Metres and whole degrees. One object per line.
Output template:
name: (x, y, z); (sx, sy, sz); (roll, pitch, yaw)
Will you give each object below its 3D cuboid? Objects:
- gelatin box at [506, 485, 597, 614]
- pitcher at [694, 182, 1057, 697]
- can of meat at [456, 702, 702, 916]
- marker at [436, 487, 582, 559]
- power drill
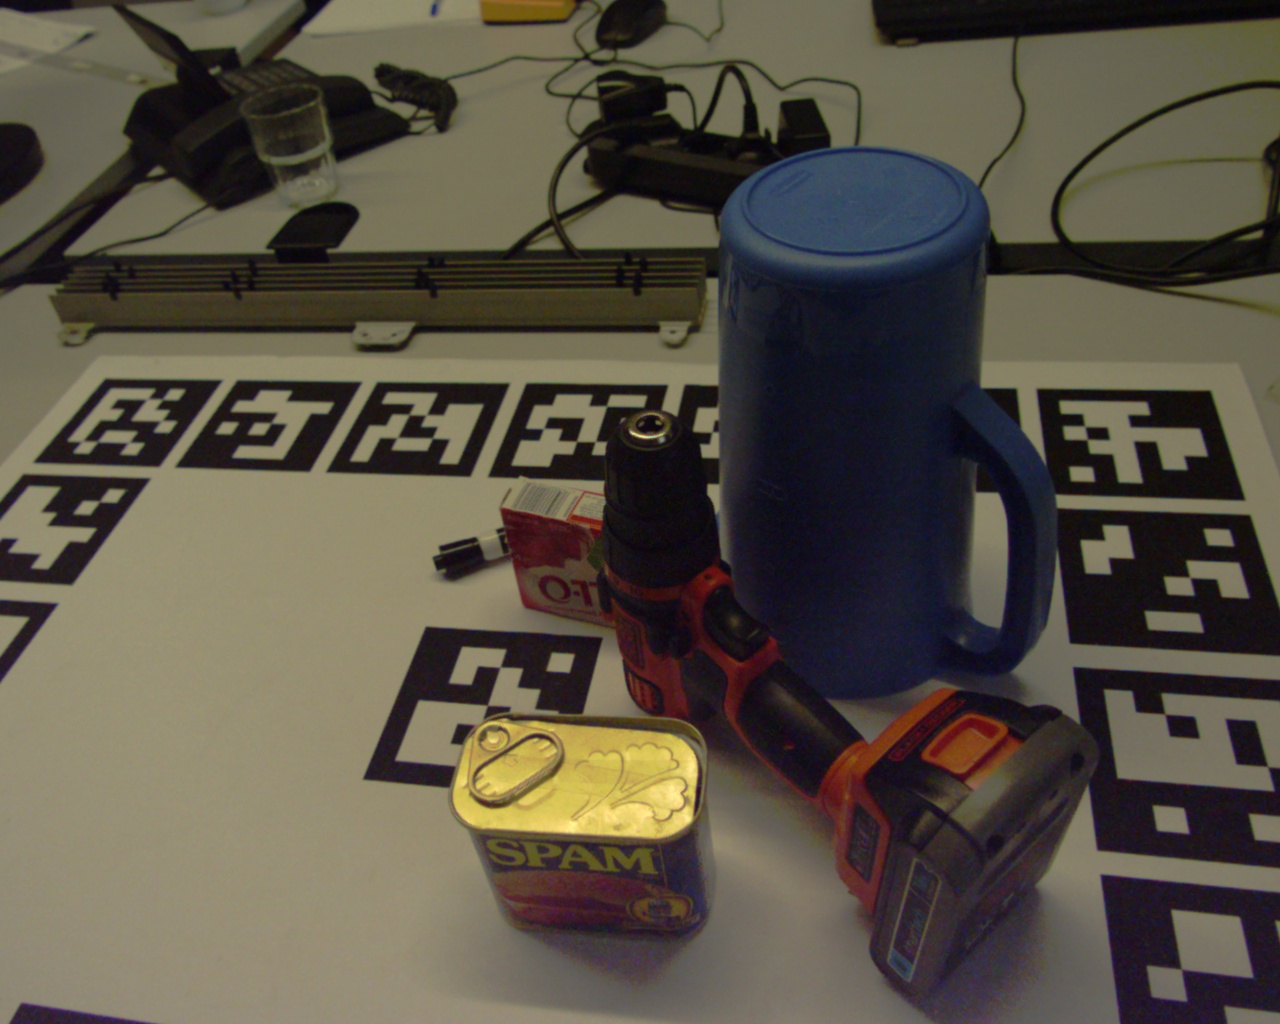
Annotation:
gelatin box: (-0.025, 0.026, 0.638); (0.090, 0.073, 0.030); (11, 51, 18)
pitcher: (0.109, -0.027, 0.557); (0.191, 0.240, 0.132); (24, 56, 39)
can of meat: (-0.023, 0.135, 0.512); (0.102, 0.083, 0.058); (1, 43, 11)
marker: (-0.067, 0.004, 0.704); (0.121, 0.019, 0.020); (-18, 45, -7)
power drill: (0.048, 0.059, 0.511); (0.189, 0.183, 0.057); (35, 61, 29)
